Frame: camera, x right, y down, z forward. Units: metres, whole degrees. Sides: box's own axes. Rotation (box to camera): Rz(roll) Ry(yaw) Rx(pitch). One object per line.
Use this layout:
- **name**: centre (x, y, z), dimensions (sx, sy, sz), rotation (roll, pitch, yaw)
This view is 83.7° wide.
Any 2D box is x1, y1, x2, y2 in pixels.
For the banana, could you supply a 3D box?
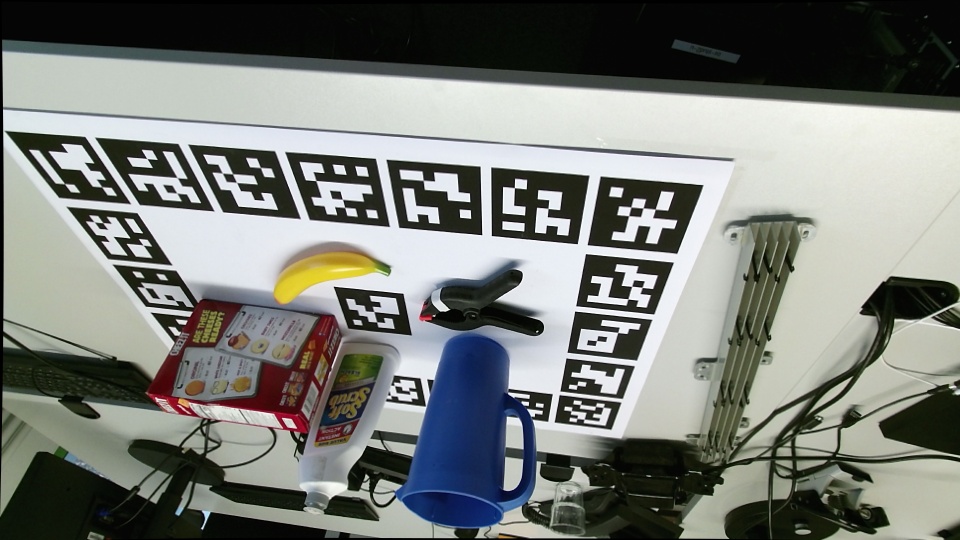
- **banana**: centre (-0.223, 0.015, 0.744), dimensions (0.198, 0.038, 0.074), rotation (-20, 131, 30)

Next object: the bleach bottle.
- **bleach bottle**: centre (-0.194, 0.233, 0.814), dimensions (0.103, 0.249, 0.068), rotation (5, 139, 5)

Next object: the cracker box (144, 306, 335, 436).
- **cracker box**: centre (-0.344, 0.147, 0.790), dimensions (0.214, 0.163, 0.072), rotation (6, 141, 3)

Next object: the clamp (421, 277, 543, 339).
- **clamp**: centre (-0.005, 0.058, 0.737), dimensions (0.165, 0.036, 0.122), rotation (-5, 138, 19)

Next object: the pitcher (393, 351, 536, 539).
- **pitcher**: centre (-0.011, 0.238, 0.753), dimensions (0.189, 0.241, 0.133), rotation (-6, 137, 21)
